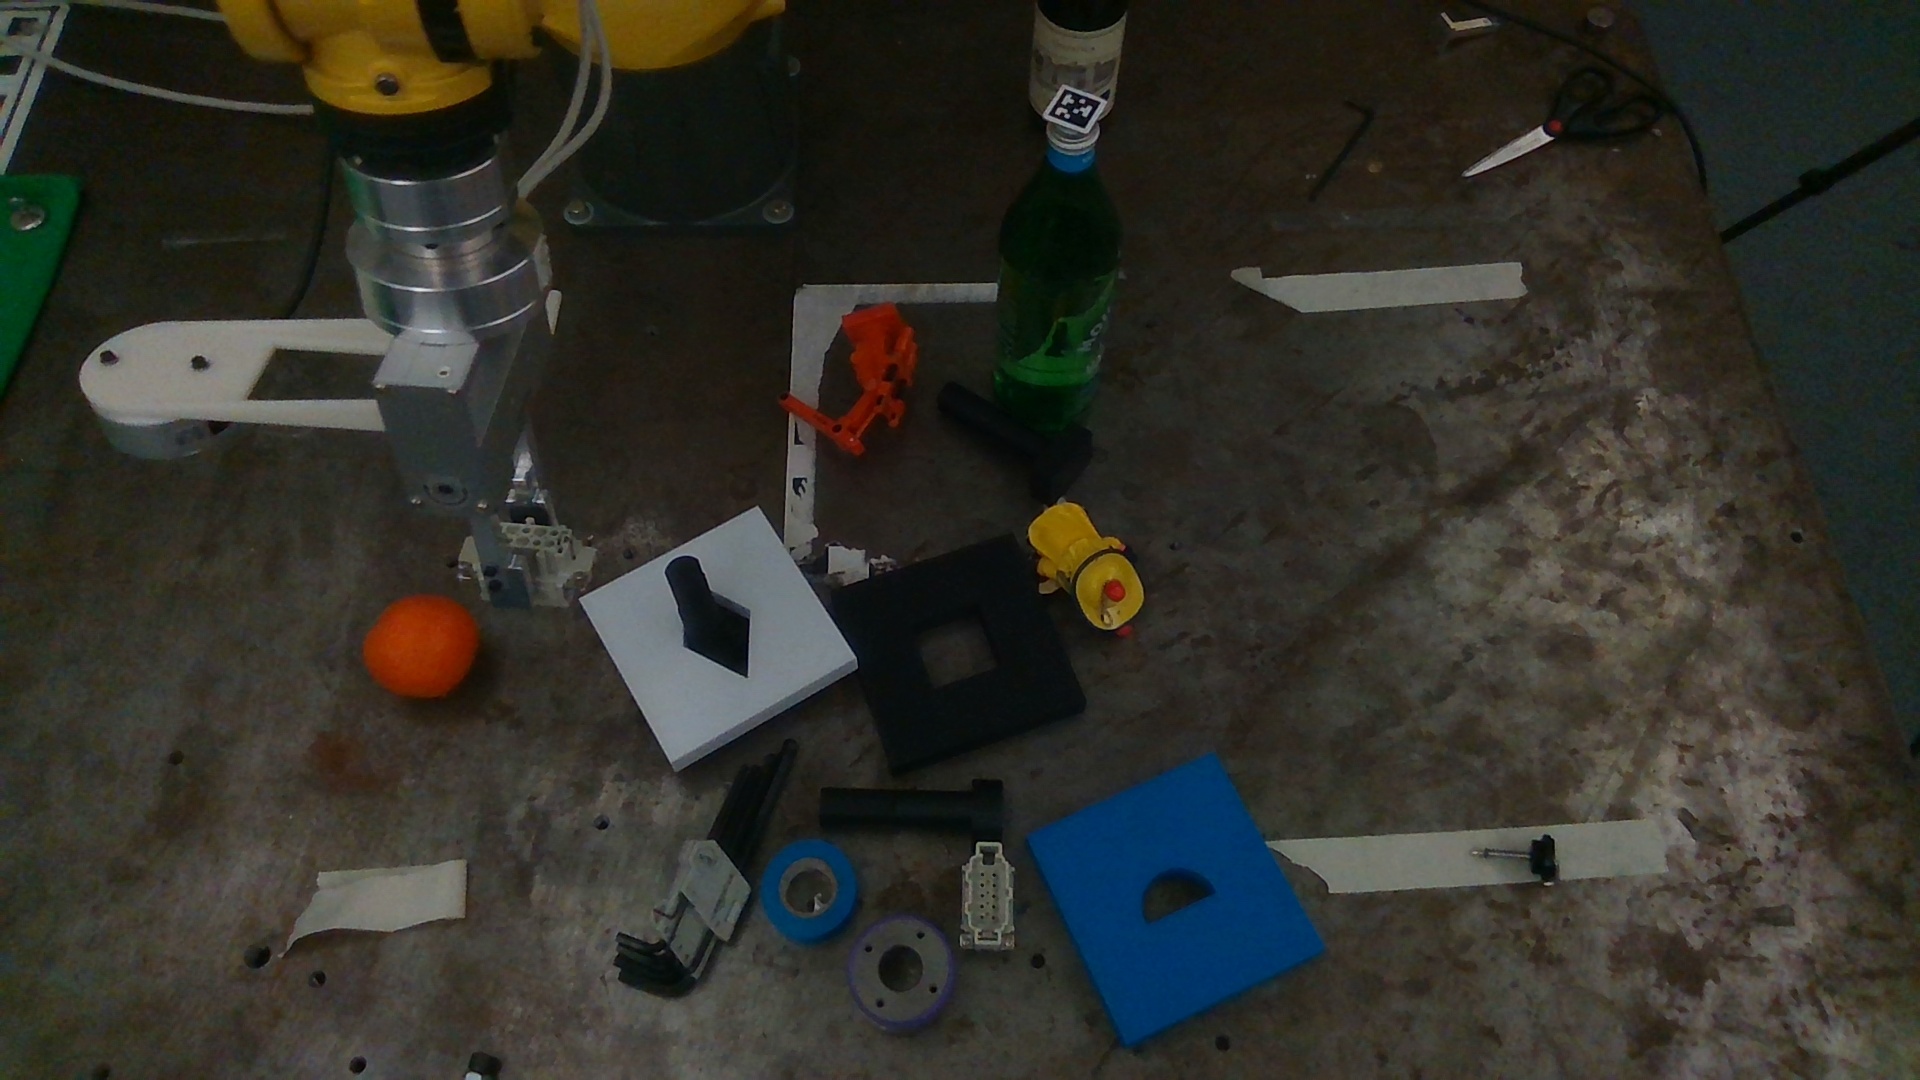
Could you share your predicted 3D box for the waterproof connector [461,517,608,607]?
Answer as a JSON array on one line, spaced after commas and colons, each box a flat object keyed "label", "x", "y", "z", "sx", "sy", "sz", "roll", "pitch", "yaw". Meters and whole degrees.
[{"label": "waterproof connector", "x": -0.217, "y": 0.009, "z": 0.709, "sx": 0.069, "sy": 0.038, "sz": 0.037, "roll": 2, "pitch": 53, "yaw": -1}]
